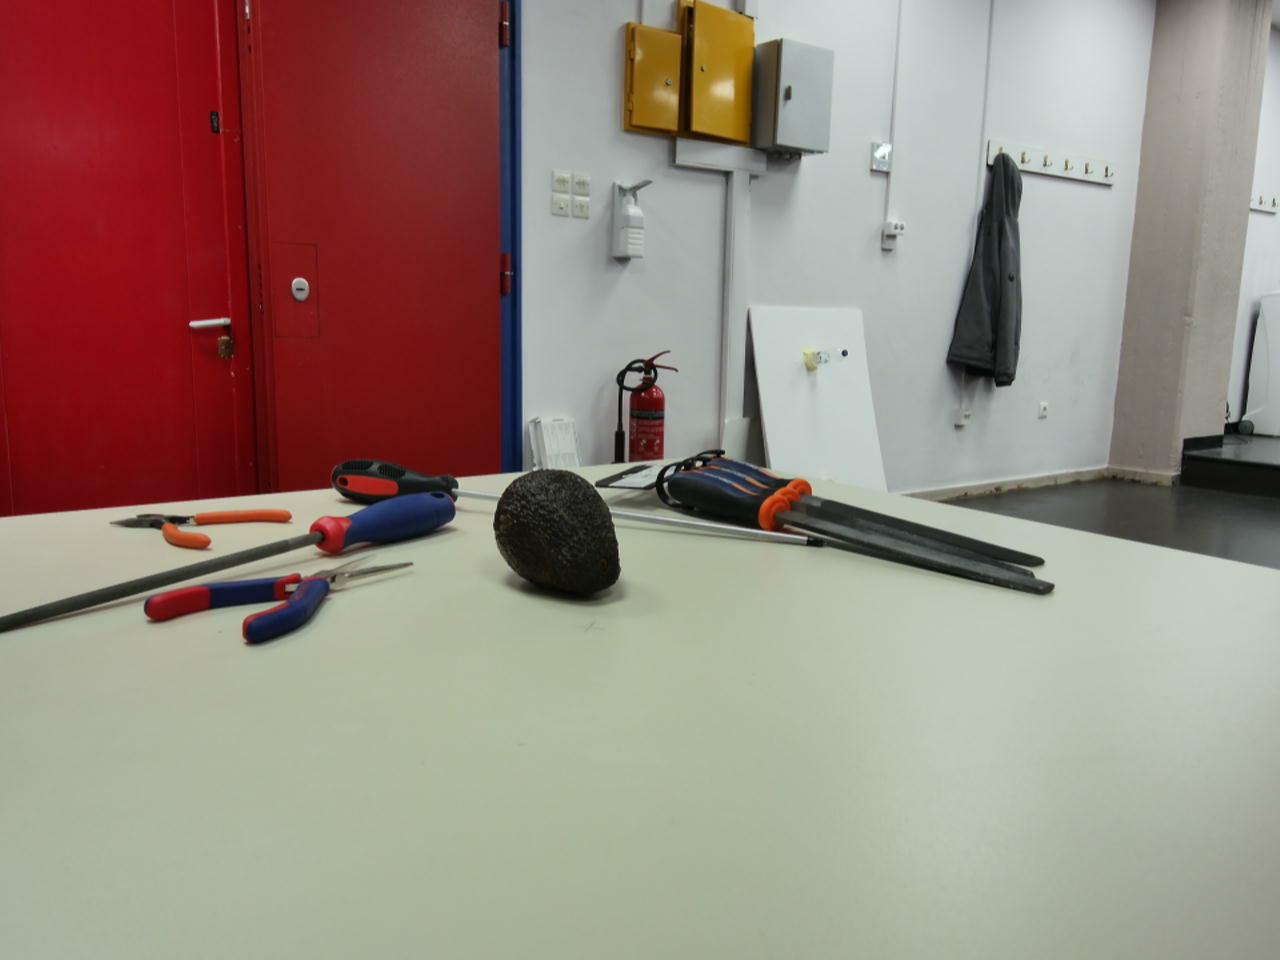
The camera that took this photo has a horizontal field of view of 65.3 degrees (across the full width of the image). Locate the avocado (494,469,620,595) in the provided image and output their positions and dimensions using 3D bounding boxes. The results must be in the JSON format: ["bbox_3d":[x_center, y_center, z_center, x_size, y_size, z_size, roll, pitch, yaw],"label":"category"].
[{"bbox_3d":[-0.050,0.029,0.589,0.070,0.069,0.090,-1,8,-11],"label":"avocado"}]
